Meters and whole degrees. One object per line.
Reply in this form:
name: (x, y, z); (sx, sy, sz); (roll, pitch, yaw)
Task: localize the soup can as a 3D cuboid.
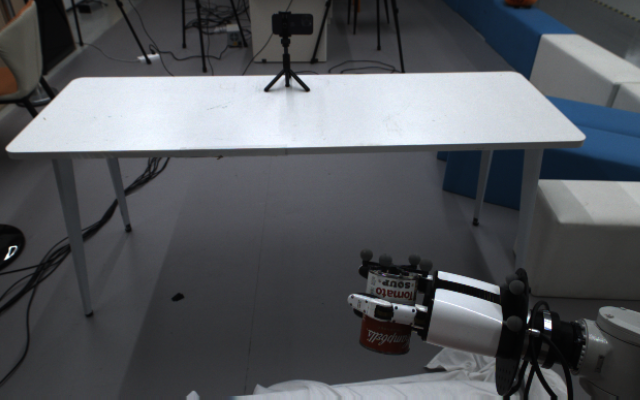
soup can: (0.093, 0.144, 0.641); (0.067, 0.101, 0.067); (7, 3, 0)
